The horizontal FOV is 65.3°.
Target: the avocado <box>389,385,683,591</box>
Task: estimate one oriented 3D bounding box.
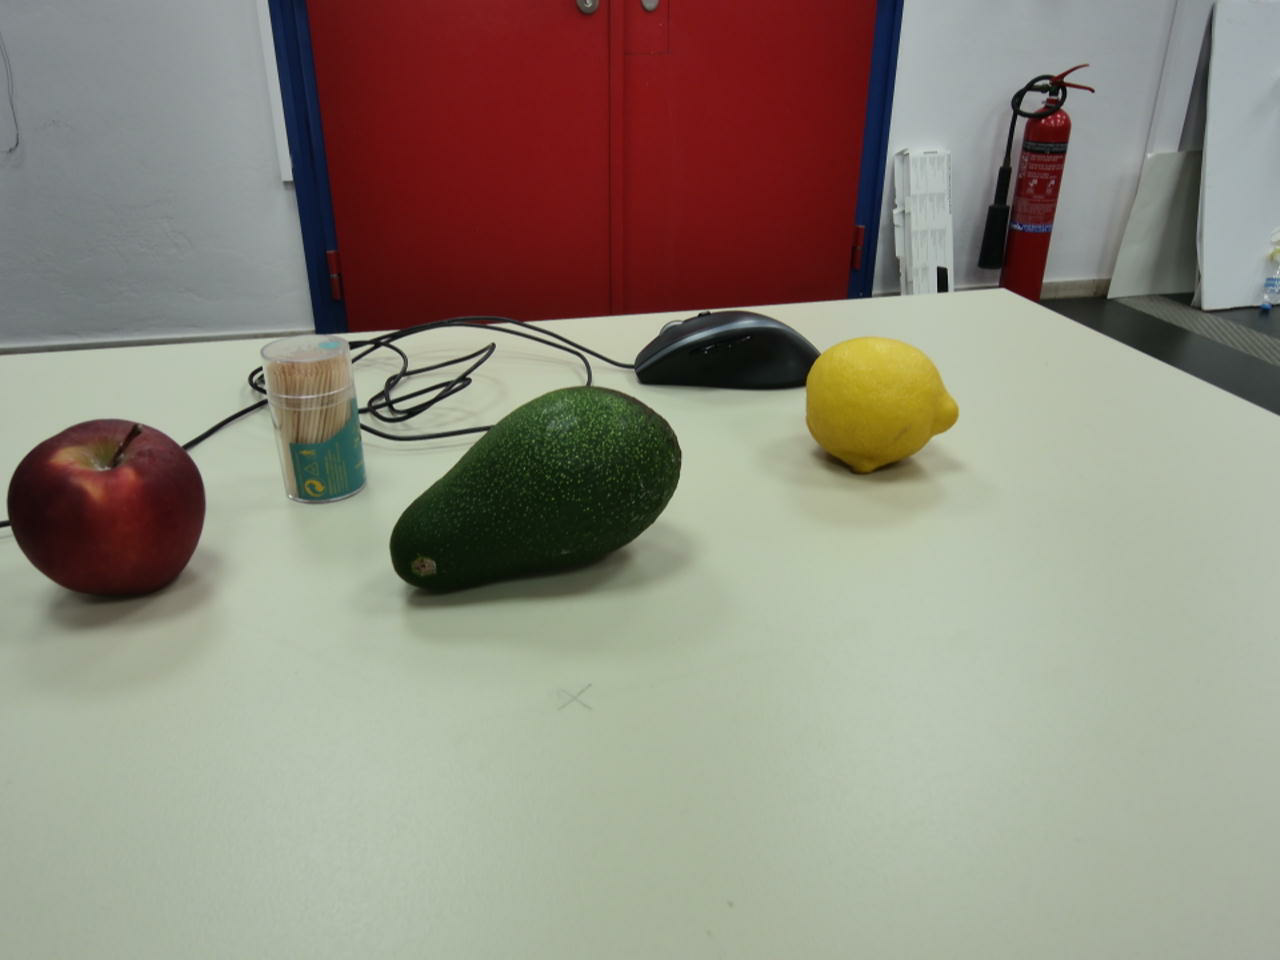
[{"bbox_3d":[-0.043,-0.001,0.424,0.123,0.076,0.074,-3,24,-7],"label":"avocado"}]
